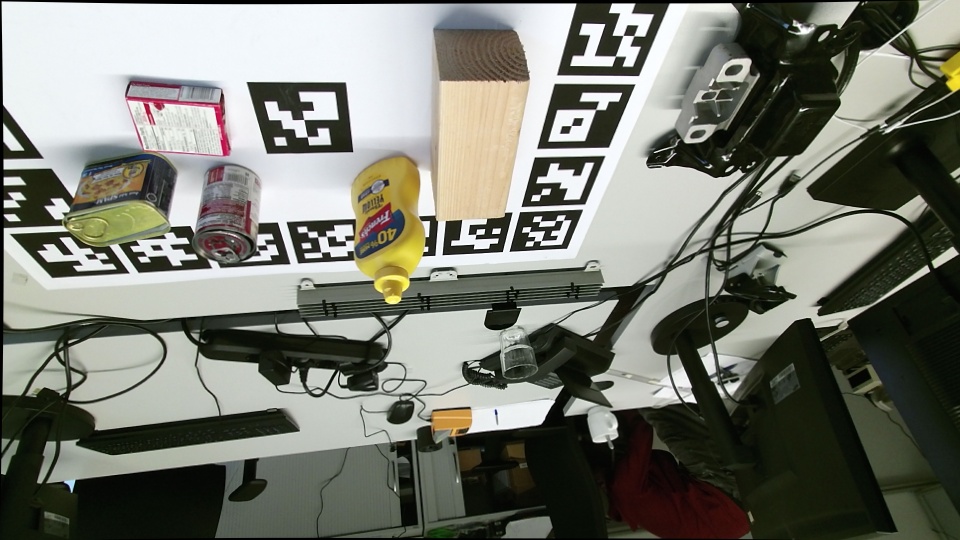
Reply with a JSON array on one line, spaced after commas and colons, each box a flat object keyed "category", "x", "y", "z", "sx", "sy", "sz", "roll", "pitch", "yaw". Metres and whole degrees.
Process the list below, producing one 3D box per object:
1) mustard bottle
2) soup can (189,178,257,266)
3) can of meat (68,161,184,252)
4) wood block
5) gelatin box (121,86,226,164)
[{"category": "mustard bottle", "x": -0.113, "y": -0.046, "z": 0.660, "sx": 0.096, "sy": 0.190, "sz": 0.058, "roll": -18, "pitch": 145, "yaw": 12}, {"category": "soup can", "x": -0.310, "y": -0.054, "z": 0.650, "sx": 0.068, "sy": 0.101, "sz": 0.068, "roll": -8, "pitch": 143, "yaw": -6}, {"category": "can of meat", "x": -0.407, "y": -0.075, "z": 0.626, "sx": 0.102, "sy": 0.083, "sz": 0.058, "roll": -10, "pitch": 144, "yaw": 3}, {"category": "wood block", "x": -0.013, "y": -0.151, "z": 0.619, "sx": 0.091, "sy": 0.089, "sz": 0.206, "roll": -2, "pitch": 148, "yaw": -10}, {"category": "gelatin box", "x": -0.325, "y": -0.154, "z": 0.576, "sx": 0.090, "sy": 0.030, "sz": 0.073, "roll": 1, "pitch": 141, "yaw": -20}]
